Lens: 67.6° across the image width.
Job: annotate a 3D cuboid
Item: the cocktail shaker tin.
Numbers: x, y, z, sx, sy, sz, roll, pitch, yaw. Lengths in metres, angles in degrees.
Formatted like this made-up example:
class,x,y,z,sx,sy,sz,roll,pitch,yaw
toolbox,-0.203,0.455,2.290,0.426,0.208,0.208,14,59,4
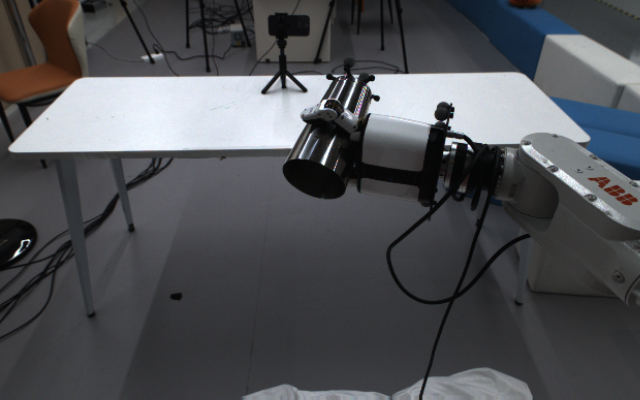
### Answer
class,x,y,z,sx,sy,sz,roll,pitch,yaw
cocktail shaker tin,0.018,-0.096,0.694,0.093,0.093,0.170,14,61,17
